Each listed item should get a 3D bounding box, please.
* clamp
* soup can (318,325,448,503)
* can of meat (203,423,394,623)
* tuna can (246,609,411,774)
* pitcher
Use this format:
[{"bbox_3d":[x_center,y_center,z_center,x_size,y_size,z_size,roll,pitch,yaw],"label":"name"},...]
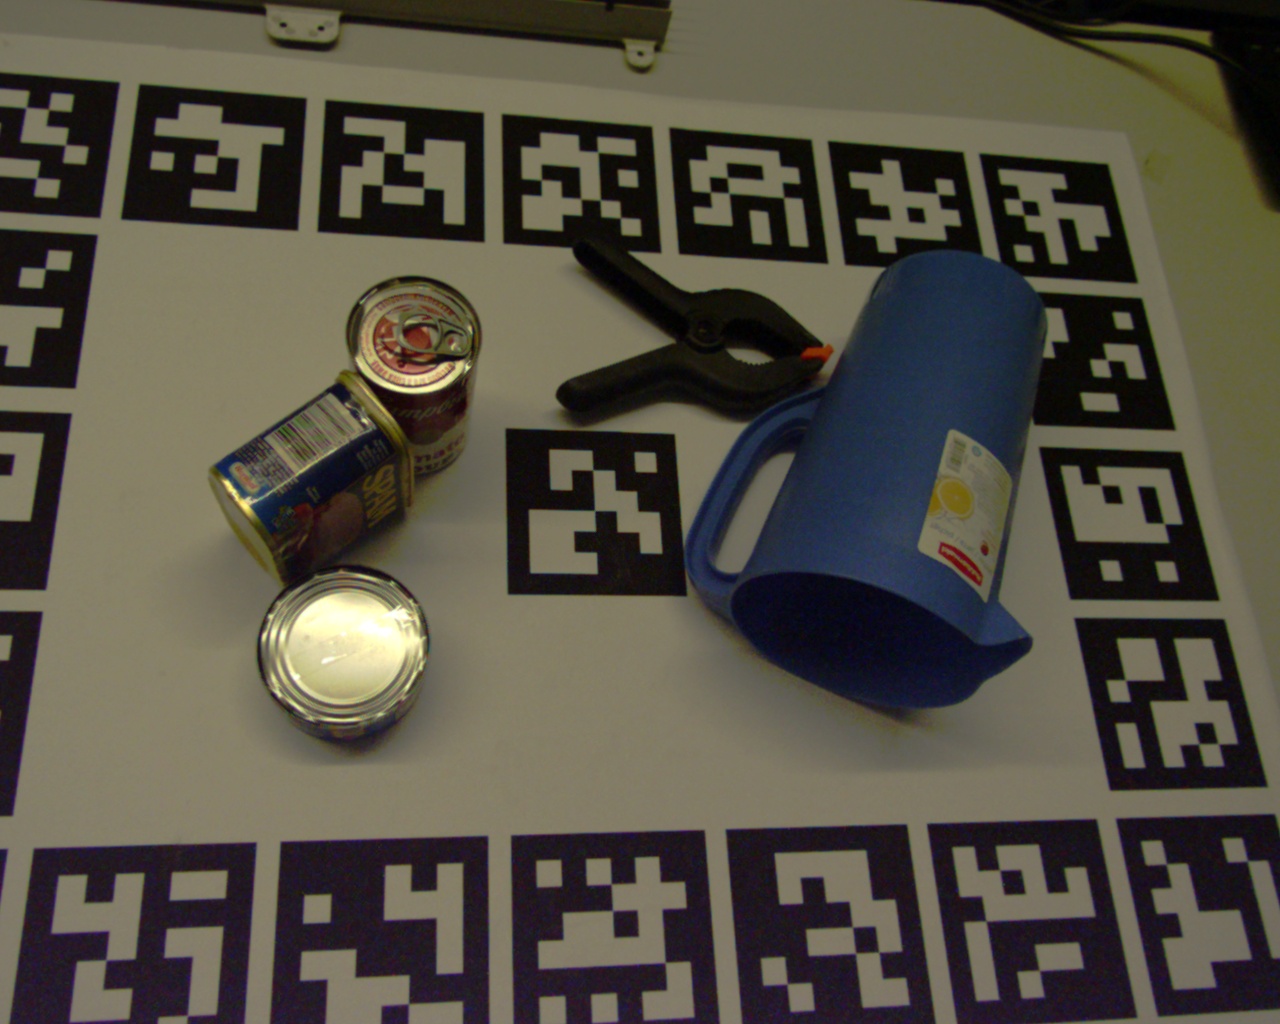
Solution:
[{"bbox_3d":[-0.002,-0.091,0.736,0.164,0.037,0.122,4,64,-13],"label":"clamp"},{"bbox_3d":[-0.143,-0.053,0.649,0.067,0.102,0.068,3,70,-8],"label":"soup can"},{"bbox_3d":[-0.184,0.009,0.612,0.083,0.102,0.058,-36,81,-18],"label":"can of meat"},{"bbox_3d":[-0.168,0.098,0.619,0.085,0.034,0.086,3,70,-10],"label":"tuna can"},{"bbox_3d":[0.127,-0.008,0.660,0.190,0.132,0.242,11,58,17],"label":"pitcher"}]
